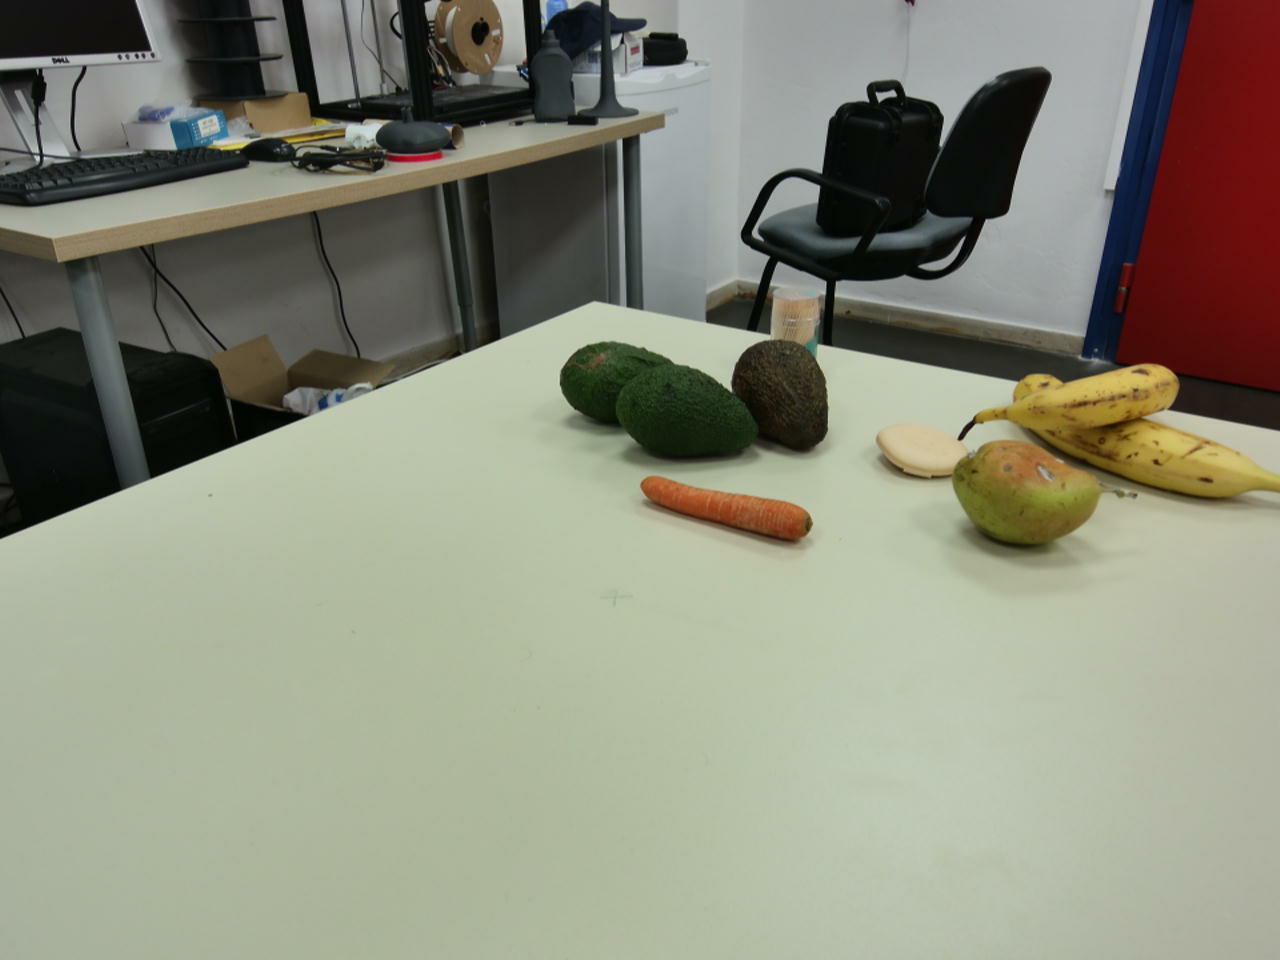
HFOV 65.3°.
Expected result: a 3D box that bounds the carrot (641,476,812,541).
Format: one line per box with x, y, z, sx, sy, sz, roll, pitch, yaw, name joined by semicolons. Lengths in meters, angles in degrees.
0.053;0.016;0.640;0.122;0.023;0.024;15;29;29;carrot
